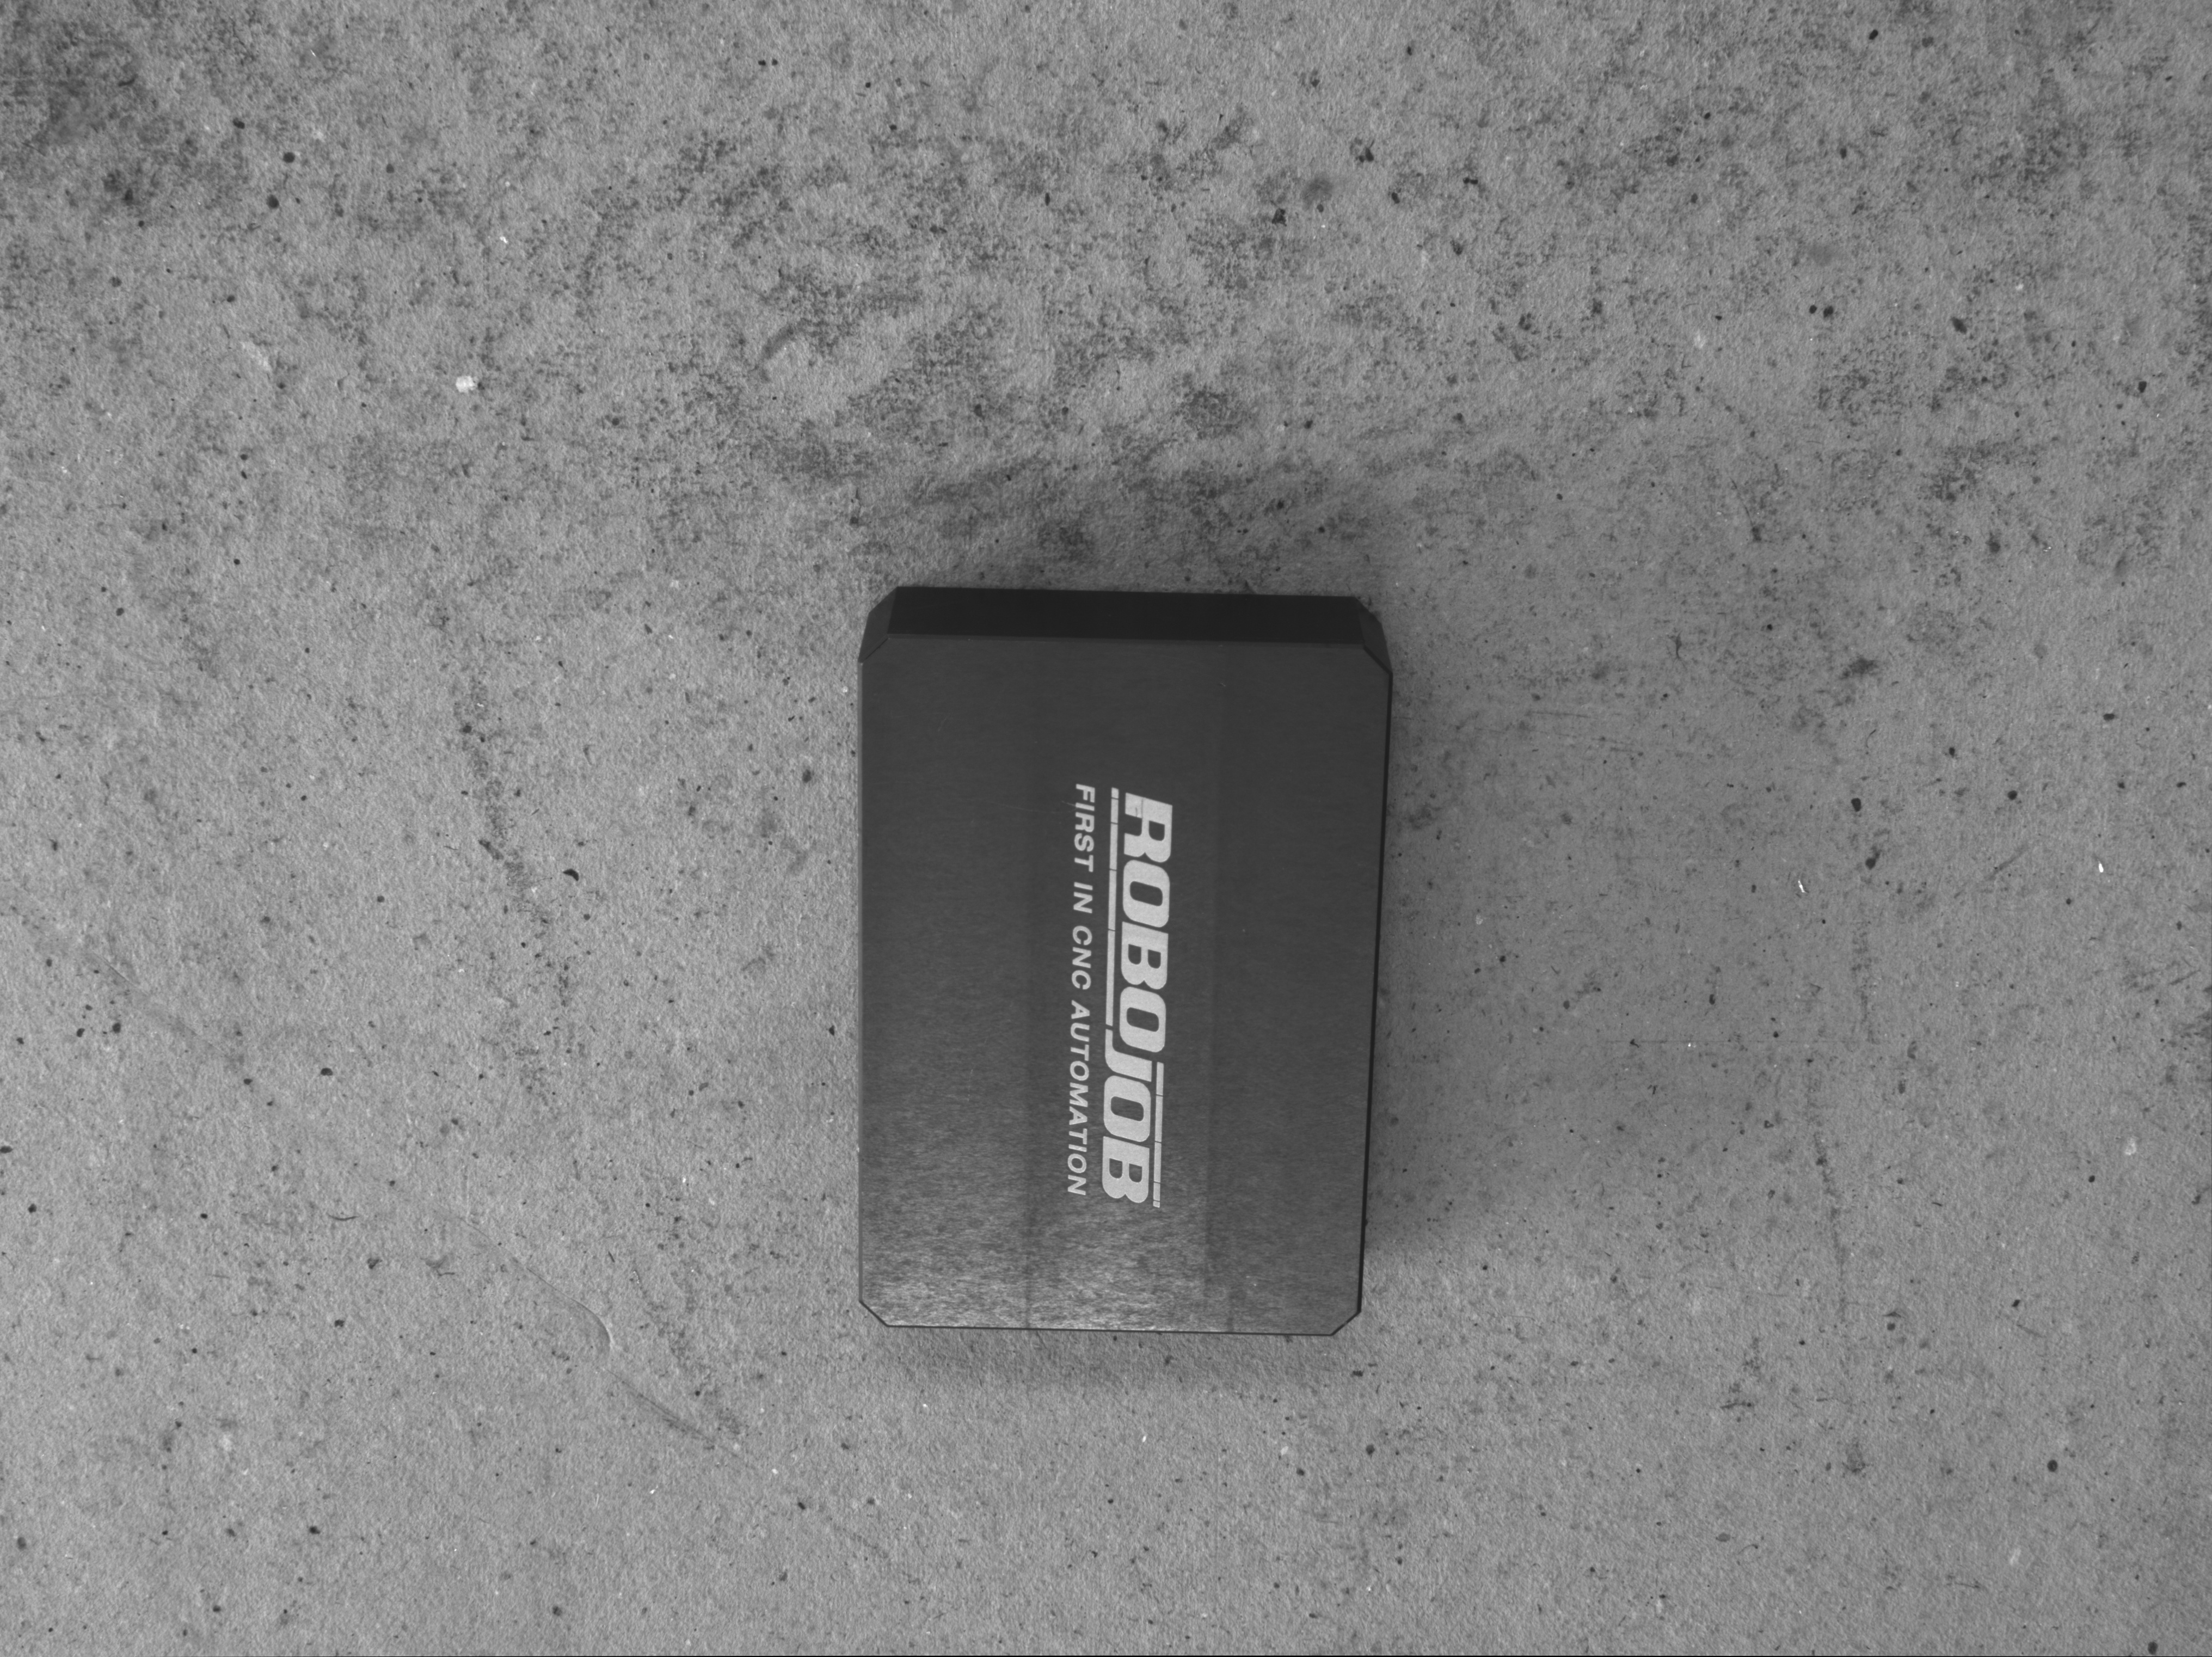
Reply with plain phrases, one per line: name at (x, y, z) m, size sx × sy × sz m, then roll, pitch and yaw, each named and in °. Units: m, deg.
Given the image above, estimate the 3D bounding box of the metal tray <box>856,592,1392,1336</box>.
metal tray at (0.002, 0.025, 0.650) m, size 0.090 × 0.030 × 0.130 m, roll 1°, pitch 111°, yaw -1°
